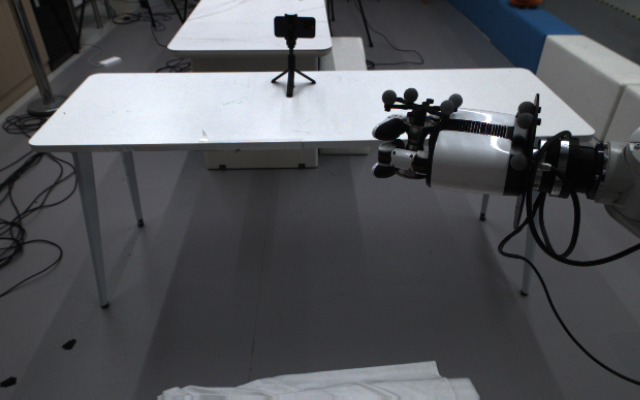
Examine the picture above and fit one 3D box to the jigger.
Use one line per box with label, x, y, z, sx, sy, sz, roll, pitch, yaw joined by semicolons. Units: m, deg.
jigger;0.123;-0.066;0.611;0.043;0.071;0.043;3;25;-1
